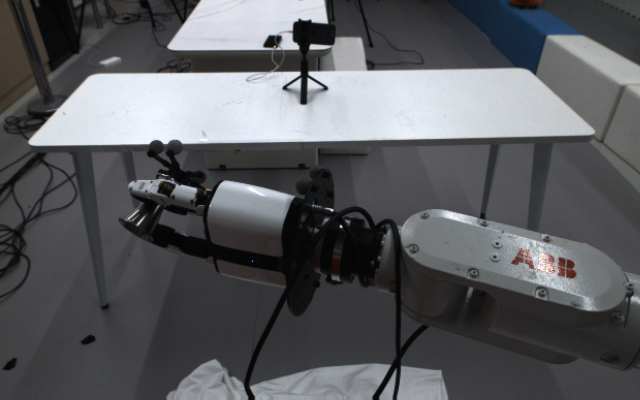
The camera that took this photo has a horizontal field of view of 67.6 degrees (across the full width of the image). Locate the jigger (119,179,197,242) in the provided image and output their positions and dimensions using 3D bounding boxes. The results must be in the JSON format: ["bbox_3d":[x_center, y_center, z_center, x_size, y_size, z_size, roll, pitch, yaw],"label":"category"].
[{"bbox_3d":[-0.190,0.006,0.551,0.043,0.043,0.071,19,62,23],"label":"jigger"}]
